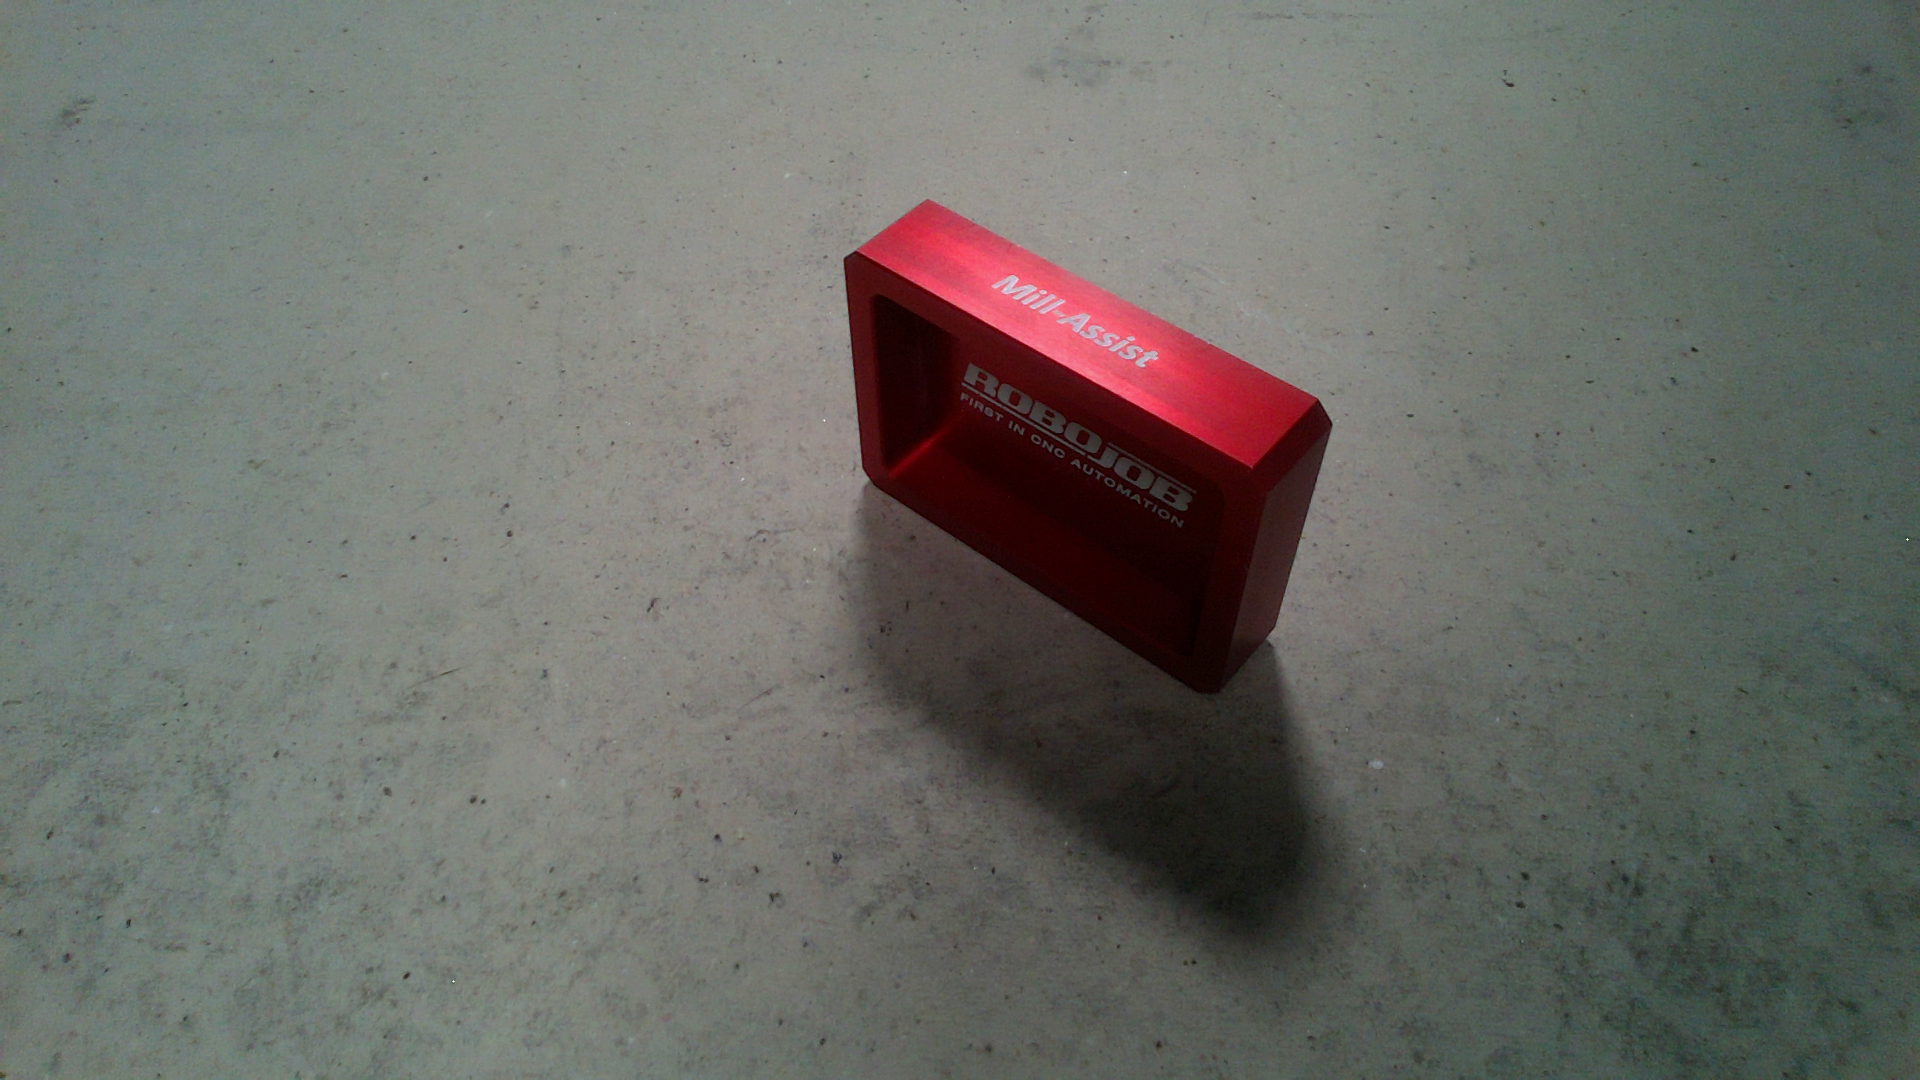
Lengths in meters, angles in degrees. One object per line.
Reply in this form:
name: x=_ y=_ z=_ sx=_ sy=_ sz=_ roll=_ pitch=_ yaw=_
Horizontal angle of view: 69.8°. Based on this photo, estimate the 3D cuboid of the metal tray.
metal tray: x=0.028 y=-0.025 z=0.370 sx=0.130 sy=0.090 sz=0.030 roll=32 pitch=57 yaw=24
